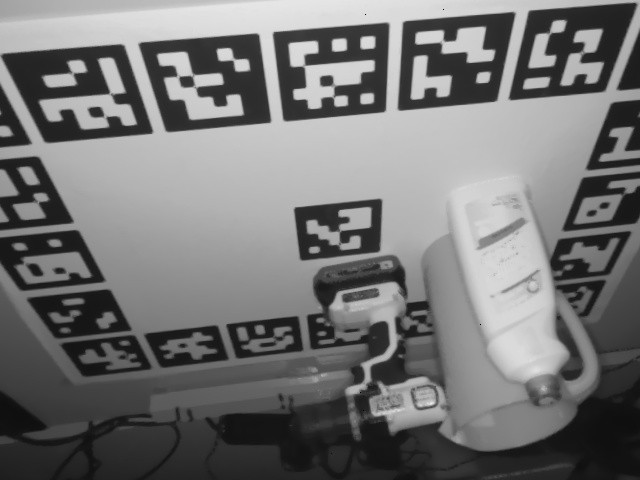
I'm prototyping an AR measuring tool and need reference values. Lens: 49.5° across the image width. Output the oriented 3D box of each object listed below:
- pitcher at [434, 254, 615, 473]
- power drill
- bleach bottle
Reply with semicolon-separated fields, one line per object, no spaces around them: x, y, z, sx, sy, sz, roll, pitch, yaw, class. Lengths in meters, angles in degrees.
0.219;0.128;0.806;0.187;0.244;0.134;-25;133;17;pitcher
0.052;0.153;0.819;0.184;0.188;0.057;-6;135;6;power drill
0.225;0.074;0.719;0.102;0.252;0.067;-12;137;3;bleach bottle
